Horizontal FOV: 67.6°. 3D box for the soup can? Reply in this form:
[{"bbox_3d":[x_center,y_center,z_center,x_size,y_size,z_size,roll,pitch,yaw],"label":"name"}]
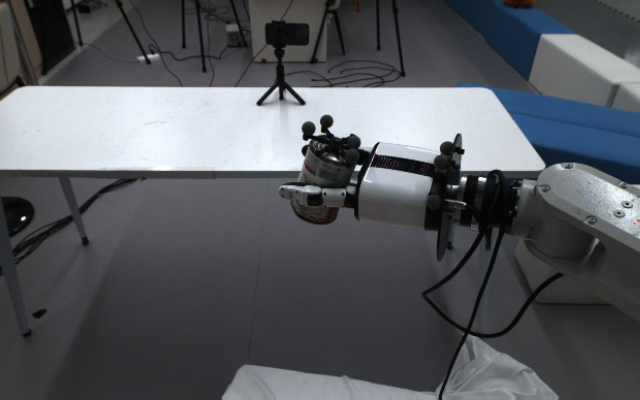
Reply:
[{"bbox_3d":[0.006,-0.026,0.646,0.067,0.101,0.067,13,35,-9],"label":"soup can"}]
